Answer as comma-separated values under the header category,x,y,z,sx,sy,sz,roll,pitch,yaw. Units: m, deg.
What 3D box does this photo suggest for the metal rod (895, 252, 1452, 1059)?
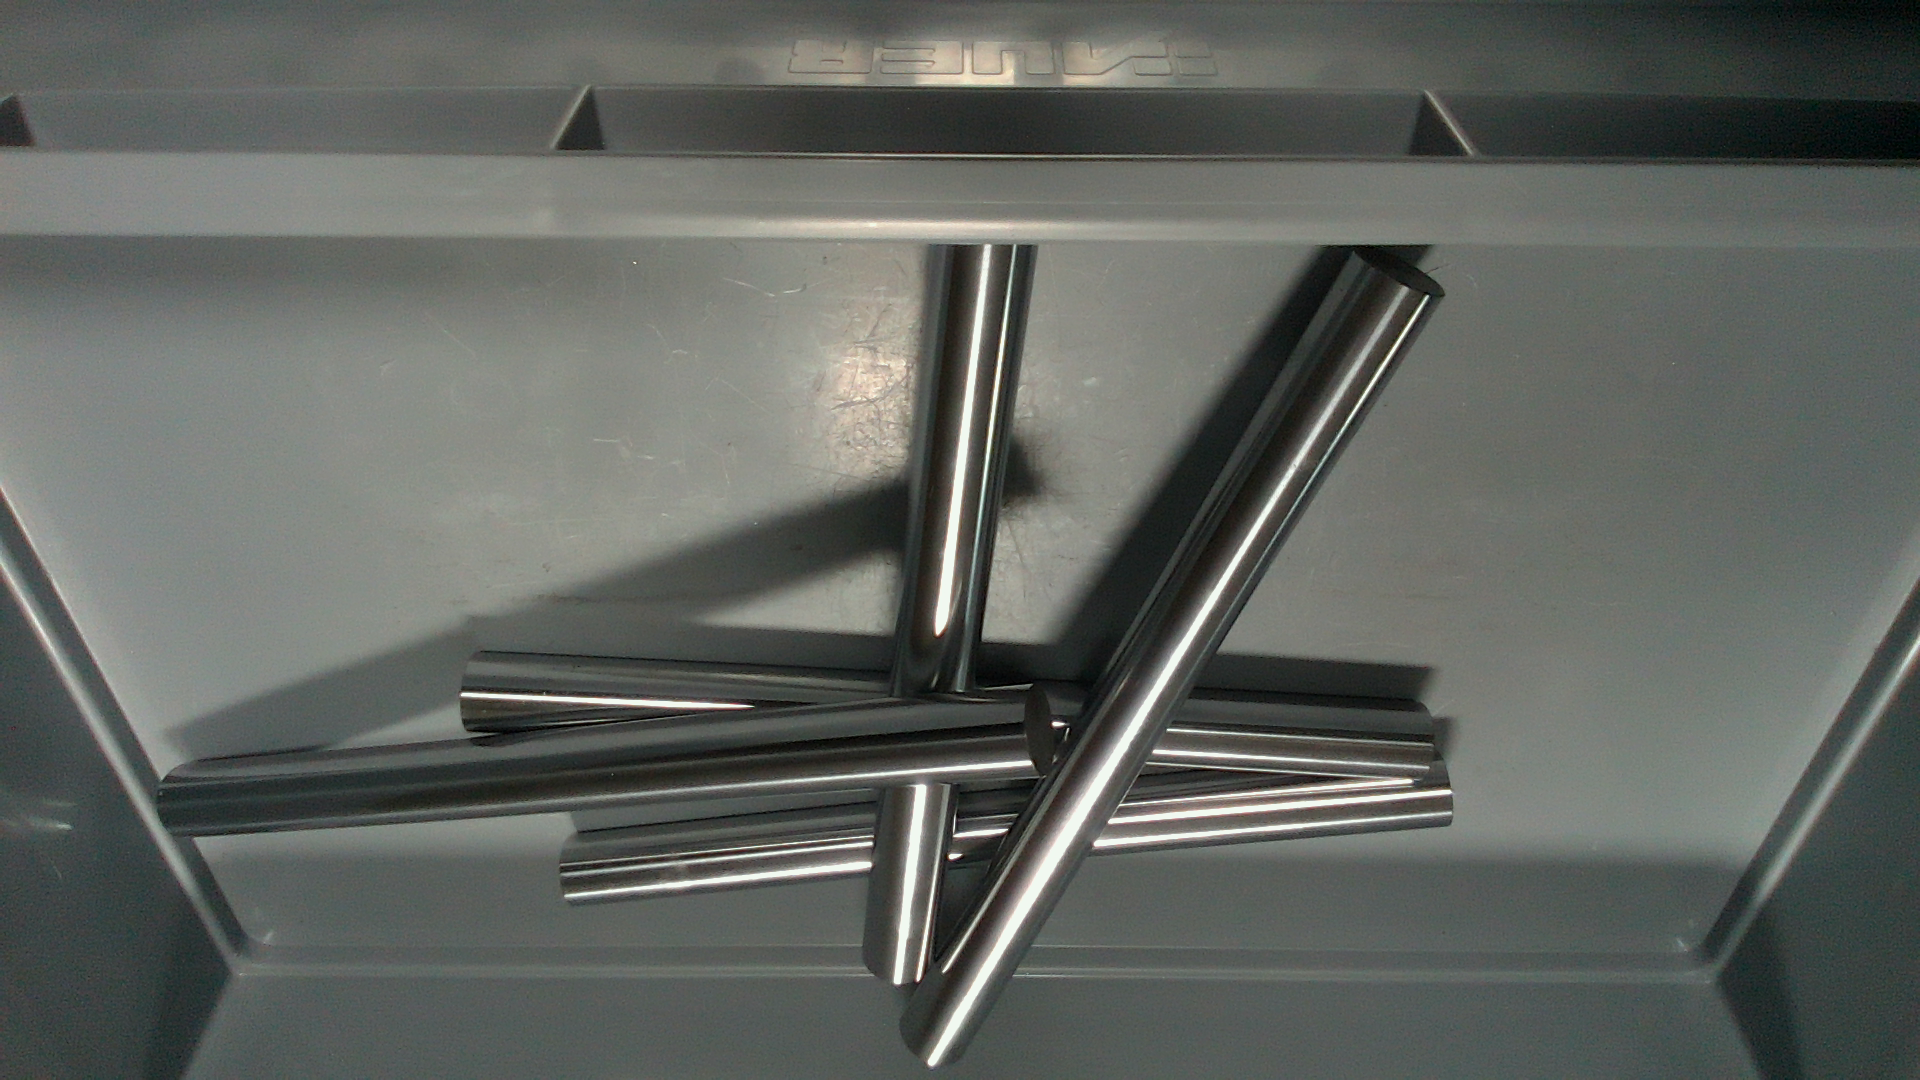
category,x,y,z,sx,sy,sz,roll,pitch,yaw
metal rod,0.049,0.053,0.408,0.025,0.025,0.299,19,120,-15

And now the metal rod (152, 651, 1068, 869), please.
category,x,y,z,sx,sy,sz,roll,pitch,yaw
metal rod,-0.116,0.069,0.414,0.299,0.025,0.025,-11,130,16

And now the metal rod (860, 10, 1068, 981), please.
category,x,y,z,sx,sy,sz,roll,pitch,yaw
metal rod,-0.005,0.013,0.378,0.025,0.025,0.300,5,124,-4

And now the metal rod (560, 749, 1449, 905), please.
category,x,y,z,sx,sy,sz,roll,pitch,yaw
metal rod,0.012,0.099,0.473,0.300,0.025,0.025,-7,130,5

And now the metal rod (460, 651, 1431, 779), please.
category,x,y,z,sx,sy,sz,roll,pitch,yaw
metal rod,-0.002,0.056,0.436,0.300,0.025,0.025,3,130,-3
